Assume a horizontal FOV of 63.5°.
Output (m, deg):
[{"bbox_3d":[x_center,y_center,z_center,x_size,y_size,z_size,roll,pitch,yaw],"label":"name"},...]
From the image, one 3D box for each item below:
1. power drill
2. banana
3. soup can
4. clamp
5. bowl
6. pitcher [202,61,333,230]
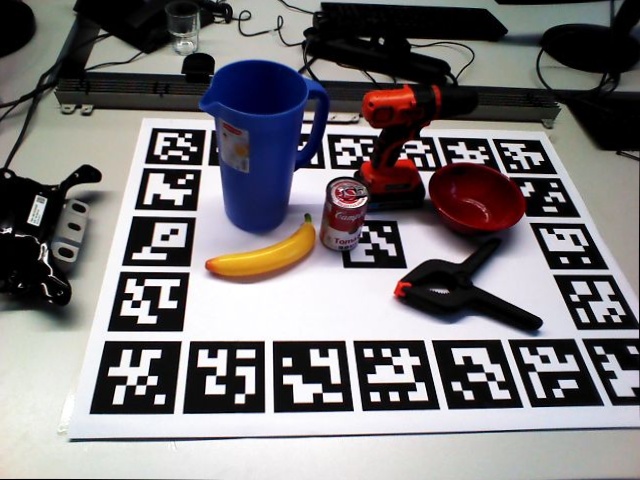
[{"bbox_3d":[0.162,-0.160,0.820,0.184,0.188,0.057,-4,51,-10],"label":"power drill"},{"bbox_3d":[-0.075,0.016,0.775,0.196,0.039,0.074,-21,47,-23],"label":"banana"},{"bbox_3d":[0.047,-0.045,0.794,0.068,0.102,0.067,2,42,-3],"label":"soup can"},{"bbox_3d":[0.221,0.061,0.756,0.203,0.037,0.164,-2,55,-8],"label":"clamp"},{"bbox_3d":[0.268,-0.063,0.860,0.162,0.055,0.160,2,52,-3],"label":"bowl"},{"bbox_3d":[-0.072,-0.137,0.765,0.188,0.243,0.133,-20,52,-21],"label":"pitcher"}]
